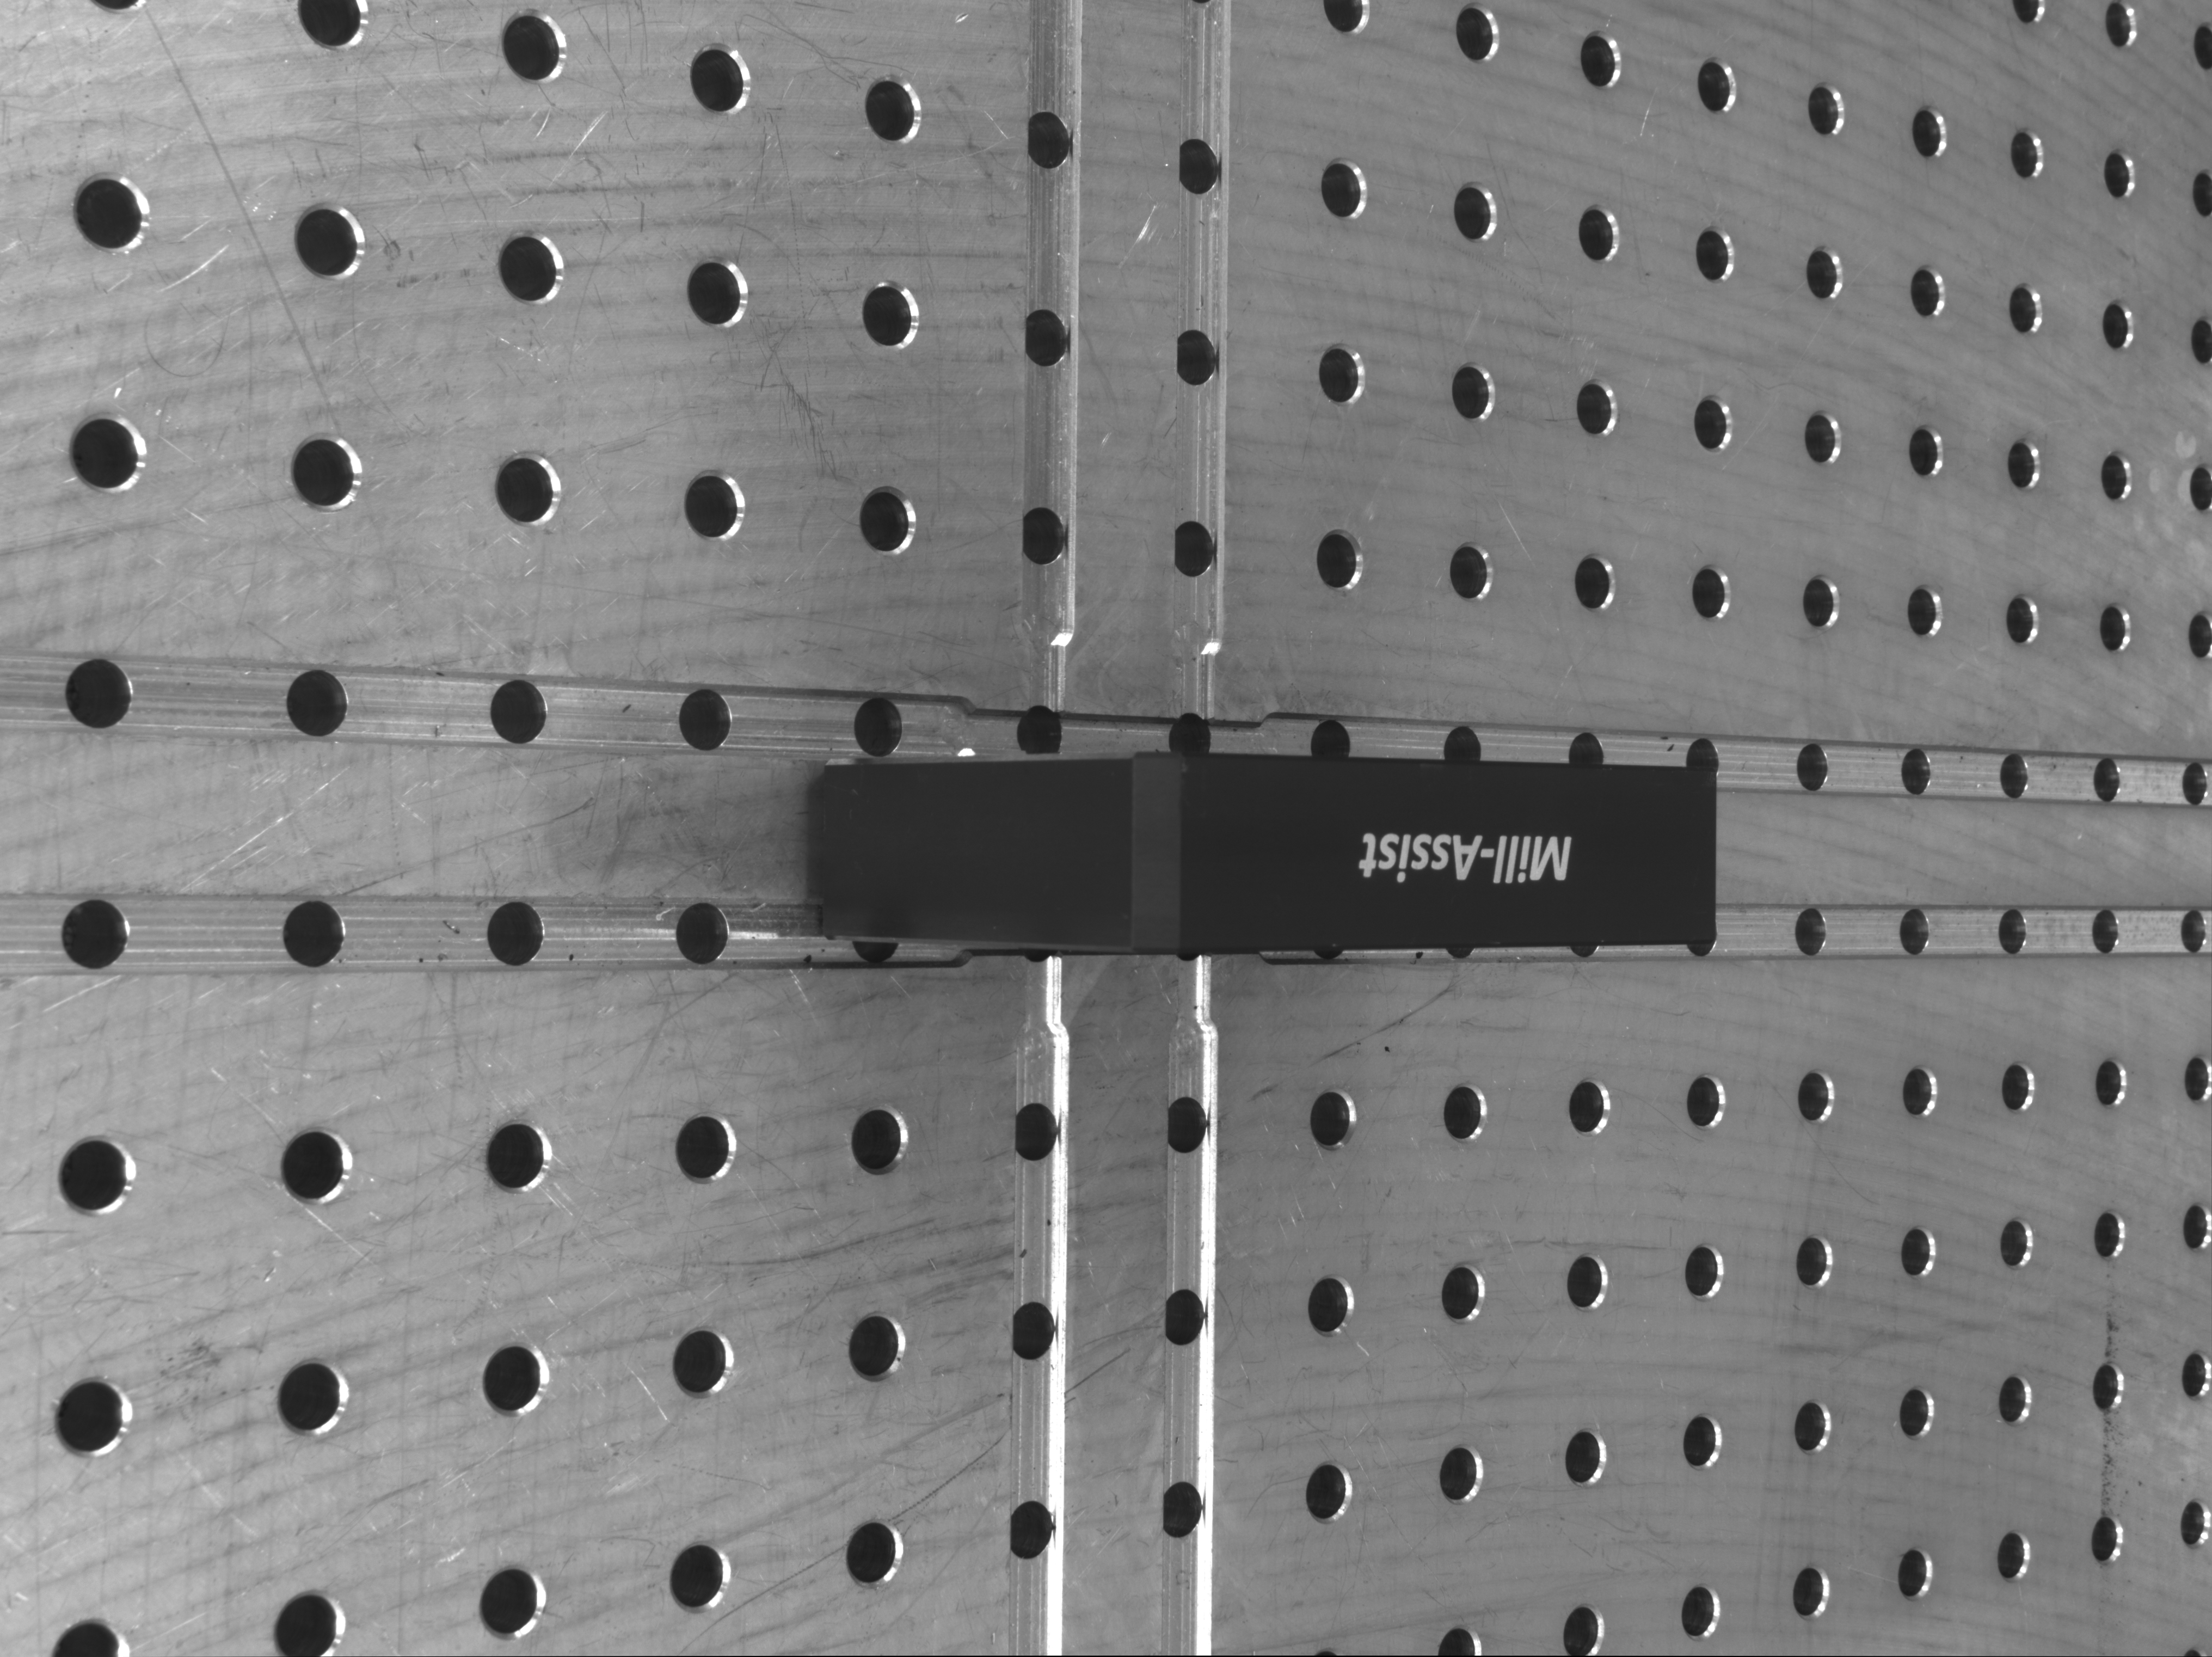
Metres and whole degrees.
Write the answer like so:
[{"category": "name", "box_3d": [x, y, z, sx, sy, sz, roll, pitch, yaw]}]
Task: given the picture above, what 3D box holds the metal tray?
[{"category": "metal tray", "box_3d": [0.029, 0.004, 0.621, 0.130, 0.090, 0.030, 0, 90, -40]}]
